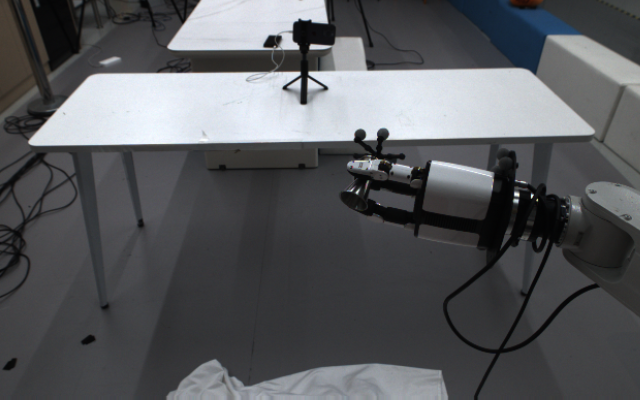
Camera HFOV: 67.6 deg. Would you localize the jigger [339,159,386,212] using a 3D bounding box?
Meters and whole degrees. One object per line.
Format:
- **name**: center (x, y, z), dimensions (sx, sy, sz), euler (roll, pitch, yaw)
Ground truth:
- **jigger**: center (0.060, -0.029, 0.680), dimensions (0.043, 0.043, 0.071), euler (19, 61, 23)
